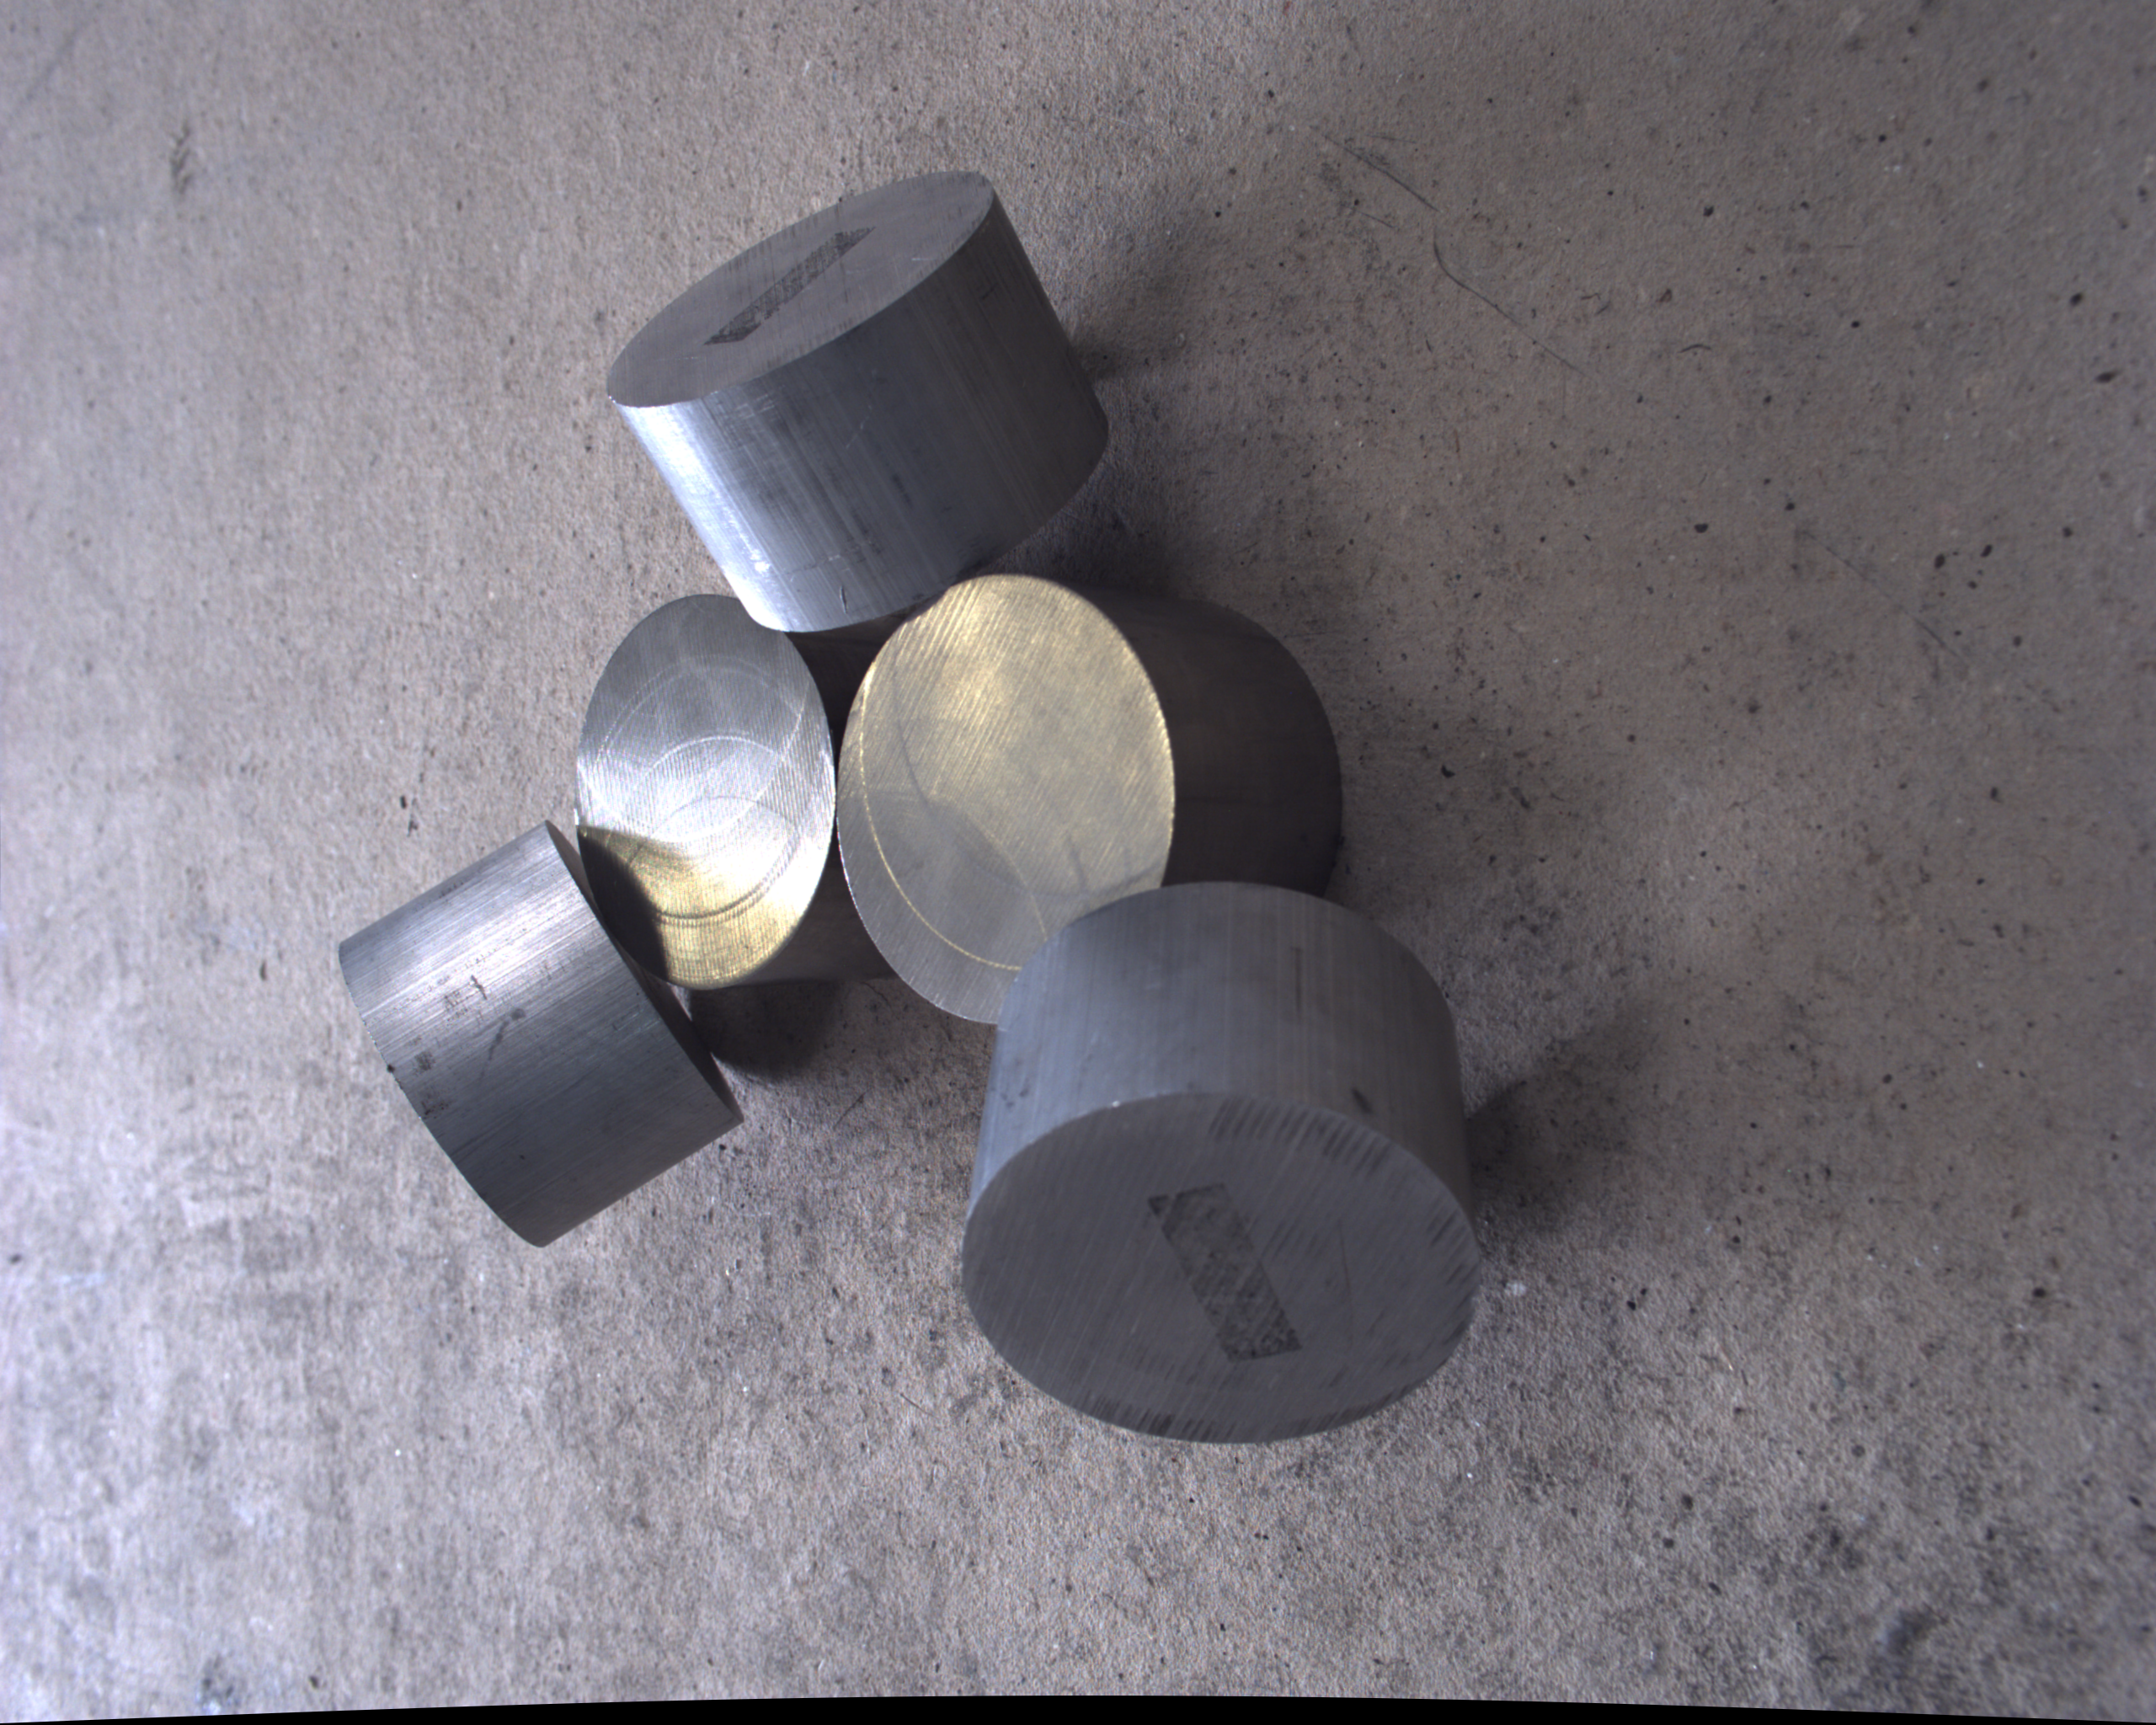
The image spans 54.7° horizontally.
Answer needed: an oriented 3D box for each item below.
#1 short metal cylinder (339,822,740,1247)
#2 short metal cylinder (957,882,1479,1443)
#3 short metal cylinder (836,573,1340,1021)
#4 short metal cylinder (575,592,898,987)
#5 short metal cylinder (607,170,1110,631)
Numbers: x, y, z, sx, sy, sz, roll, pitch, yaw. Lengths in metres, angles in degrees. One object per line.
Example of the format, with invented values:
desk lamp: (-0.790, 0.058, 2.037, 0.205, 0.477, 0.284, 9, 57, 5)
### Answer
short metal cylinder: (-0.117, 0.037, 0.459, 0.050, 0.080, 0.080, -32, 64, -8)
short metal cylinder: (0.023, 0.050, 0.343, 0.080, 0.080, 0.050, -44, 22, 31)
short metal cylinder: (0.001, -0.011, 0.389, 0.080, 0.050, 0.080, 0, 90, 40)
short metal cylinder: (-0.061, -0.015, 0.440, 0.080, 0.050, 0.080, 0, 90, 40)
short metal cylinder: (-0.041, -0.088, 0.397, 0.080, 0.080, 0.050, 2, 134, 40)
